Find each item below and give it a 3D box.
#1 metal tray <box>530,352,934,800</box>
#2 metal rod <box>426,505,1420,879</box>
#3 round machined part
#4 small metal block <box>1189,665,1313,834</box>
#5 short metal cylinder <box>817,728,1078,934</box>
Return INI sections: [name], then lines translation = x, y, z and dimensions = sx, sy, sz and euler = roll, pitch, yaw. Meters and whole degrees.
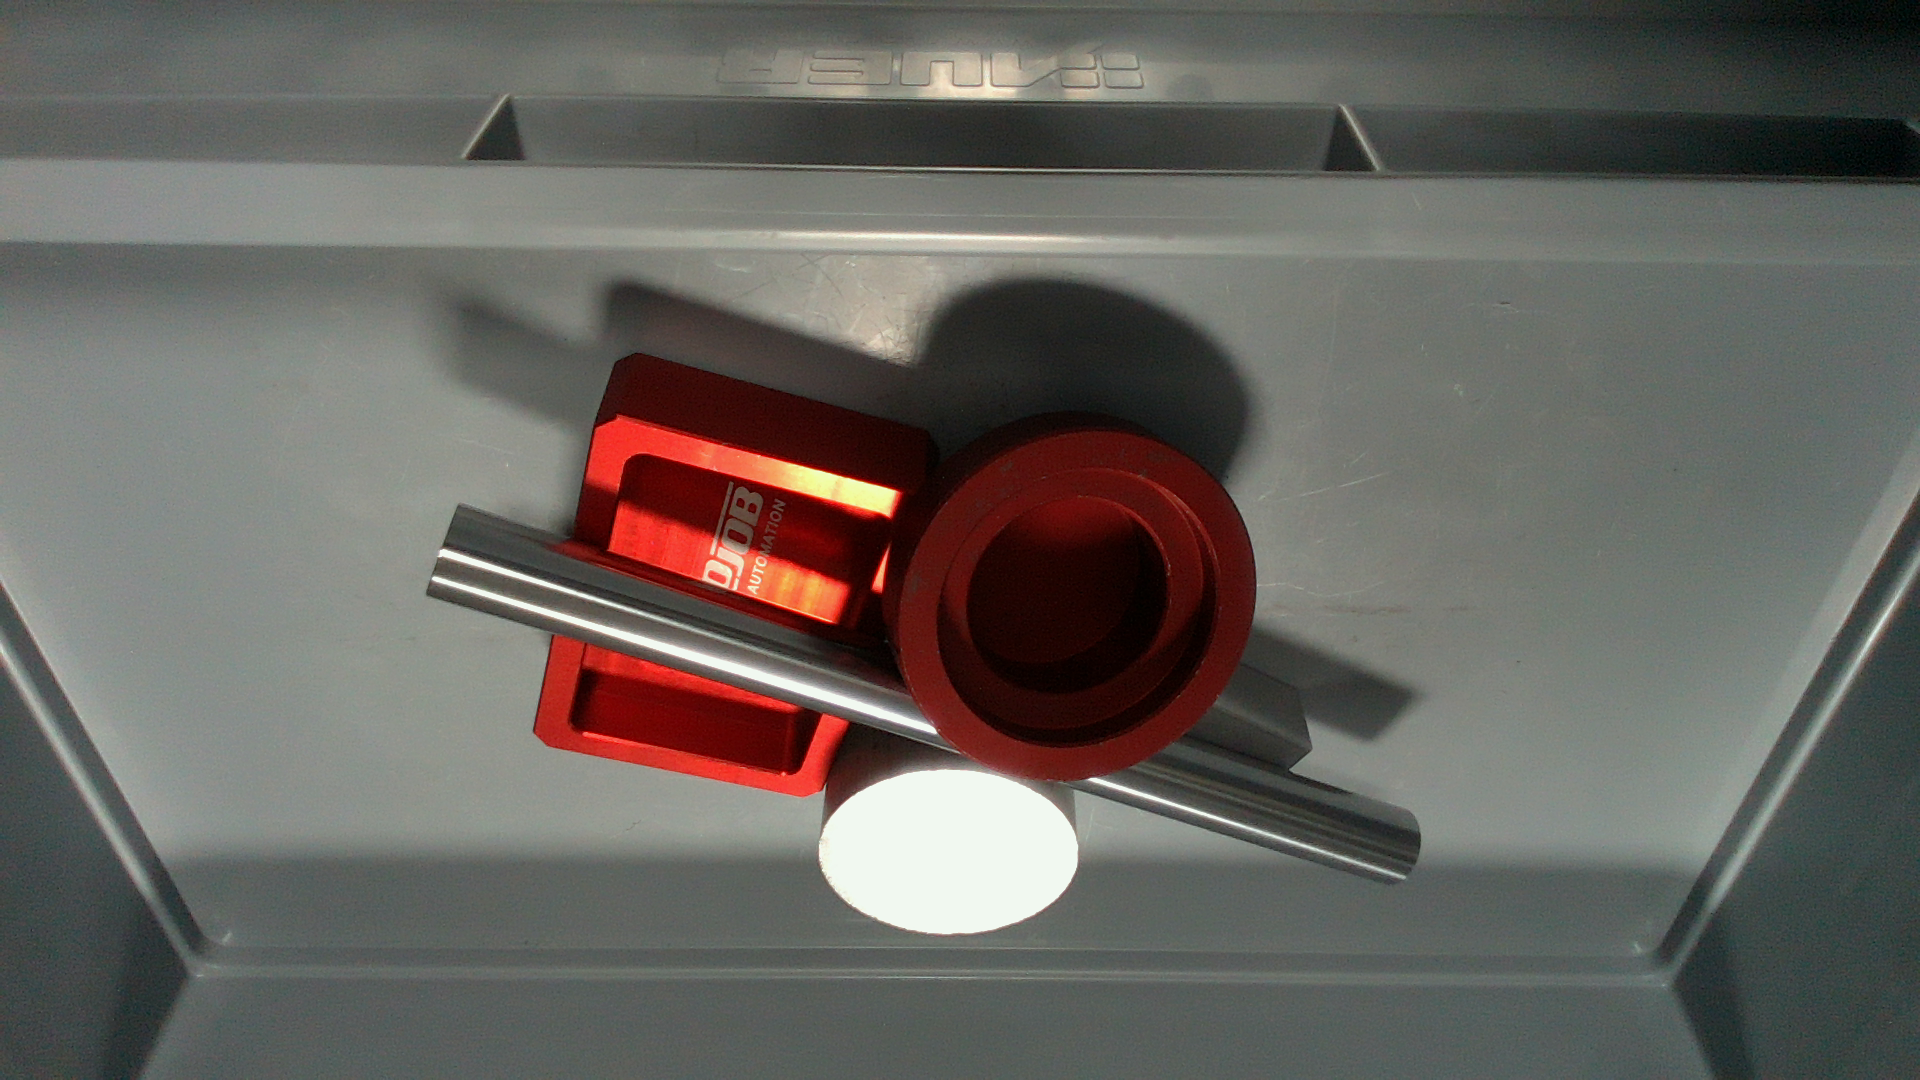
[metal tray]
translation = -0.068, 0.016, 0.398
dimensions = 0.090, 0.030, 0.130
euler = 14, 129, -12
[metal rod]
translation = 0.005, 0.050, 0.393
dimensions = 0.301, 0.025, 0.025
euler = 19, 128, -19
[round machined part]
translation = 0.027, 0.013, 0.373
dimensions = 0.098, 0.042, 0.098
euler = -4, 109, -12
[small metal block]
translation = 0.076, 0.063, 0.442
dimensions = 0.050, 0.025, 0.050
euler = 25, 126, -20
[short metal cylinder]
translation = -0.004, 0.081, 0.440
dimensions = 0.080, 0.050, 0.080
euler = 0, 130, 0
